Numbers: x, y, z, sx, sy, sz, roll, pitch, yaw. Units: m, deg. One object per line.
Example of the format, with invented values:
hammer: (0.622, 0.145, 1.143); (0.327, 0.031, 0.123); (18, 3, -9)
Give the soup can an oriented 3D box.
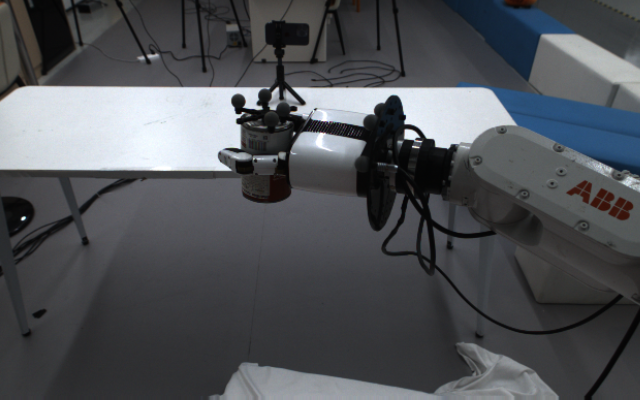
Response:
soup can: (-0.067, -0.055, 0.619); (0.067, 0.101, 0.067); (3, 30, -2)
